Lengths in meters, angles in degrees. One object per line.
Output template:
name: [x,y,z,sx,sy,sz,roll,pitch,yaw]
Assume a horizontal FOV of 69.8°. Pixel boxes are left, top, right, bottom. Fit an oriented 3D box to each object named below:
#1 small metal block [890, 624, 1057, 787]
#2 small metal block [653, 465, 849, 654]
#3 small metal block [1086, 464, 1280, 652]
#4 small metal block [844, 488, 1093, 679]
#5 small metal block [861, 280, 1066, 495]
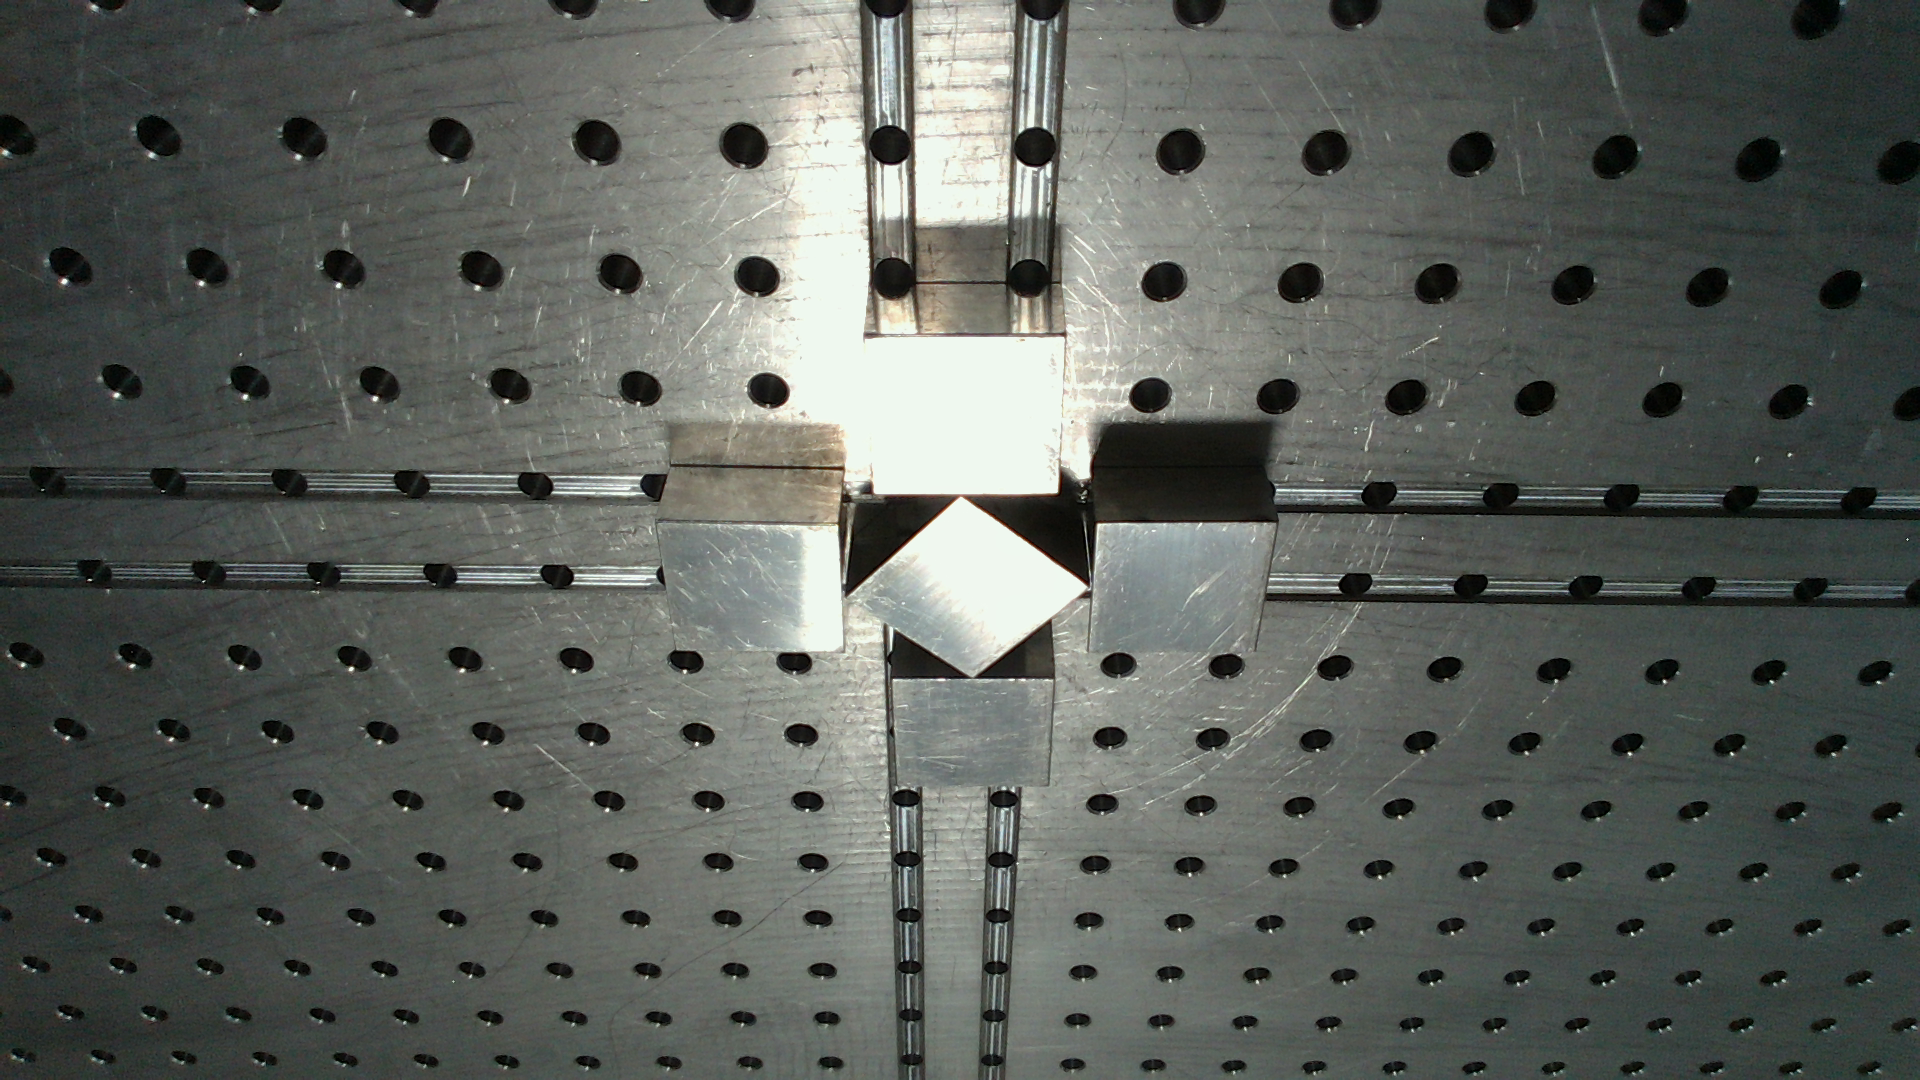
small metal block: [0.004,0.053,0.438,0.050,0.025,0.050,0,130,0]
small metal block: [-0.059,0.006,0.398,0.050,0.025,0.050,1,130,-1]
small metal block: [0.062,0.006,0.399,0.050,0.025,0.050,0,130,0]
small metal block: [0.002,0.007,0.399,0.050,0.025,0.050,34,122,-26]
small metal block: [0.001,-0.039,0.360,0.050,0.025,0.050,-1,130,0]
